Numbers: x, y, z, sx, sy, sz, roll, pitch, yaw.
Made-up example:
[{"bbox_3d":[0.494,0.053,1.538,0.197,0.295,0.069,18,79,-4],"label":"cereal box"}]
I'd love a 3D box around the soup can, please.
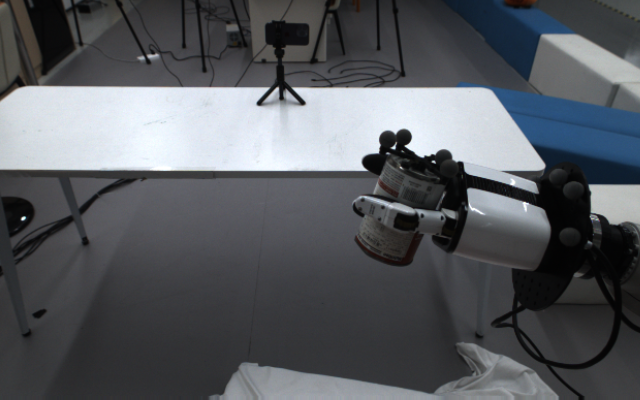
[{"bbox_3d":[0.087,0.009,0.514,0.067,0.101,0.067,17,21,-7],"label":"soup can"}]
